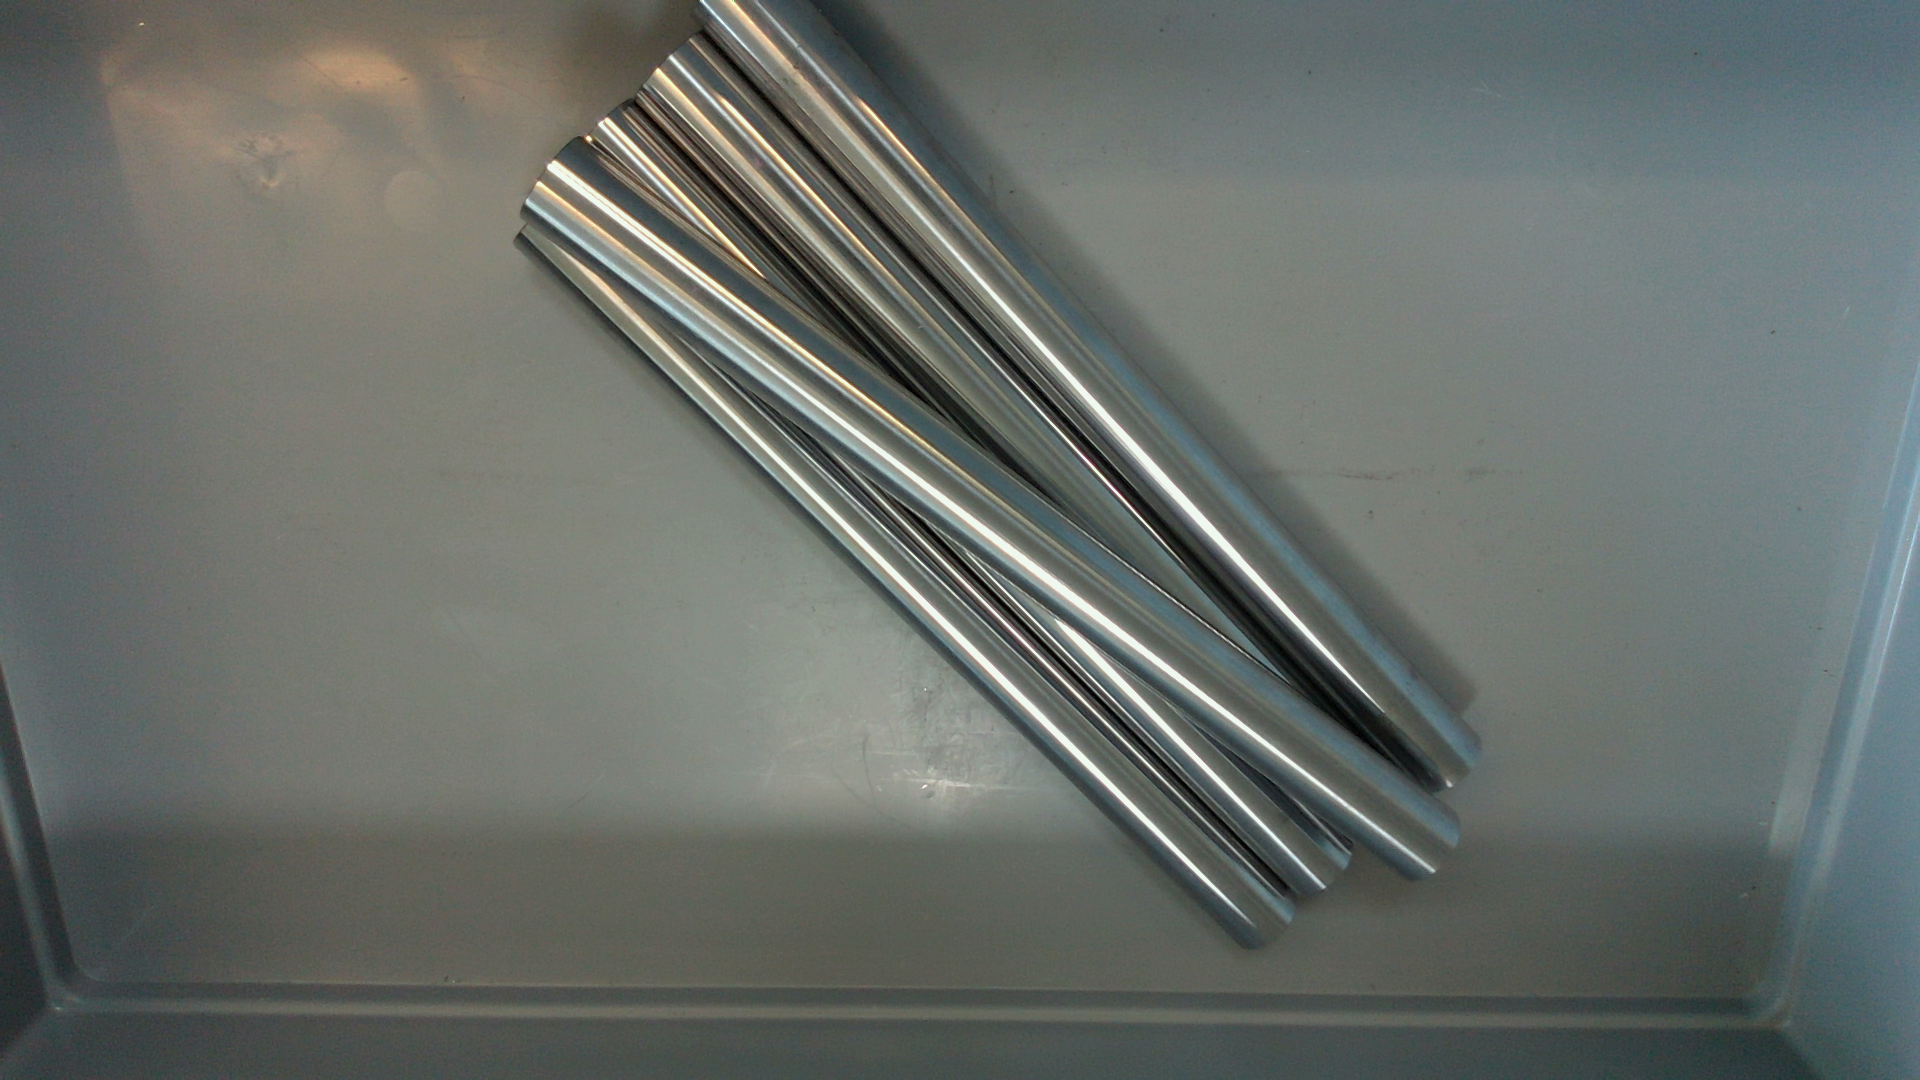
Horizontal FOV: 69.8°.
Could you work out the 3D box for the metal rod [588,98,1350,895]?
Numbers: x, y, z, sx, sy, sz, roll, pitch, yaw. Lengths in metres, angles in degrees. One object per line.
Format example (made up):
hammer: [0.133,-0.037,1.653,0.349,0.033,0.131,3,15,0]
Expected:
metal rod: [0.009,-0.002,0.392,0.025,0.025,0.300,-41,105,14]

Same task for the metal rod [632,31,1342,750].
metal rod: [0.028,-0.017,0.387,0.025,0.025,0.300,-41,105,14]

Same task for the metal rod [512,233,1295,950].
metal rod: [-0.006,0.017,0.399,0.025,0.025,0.300,-41,105,14]

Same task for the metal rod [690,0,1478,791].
metal rod: [0.044,-0.036,0.380,0.025,0.025,0.300,-41,105,14]

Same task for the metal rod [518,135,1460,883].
metal rod: [0.018,0.000,0.366,0.300,0.025,0.025,37,106,-13]
